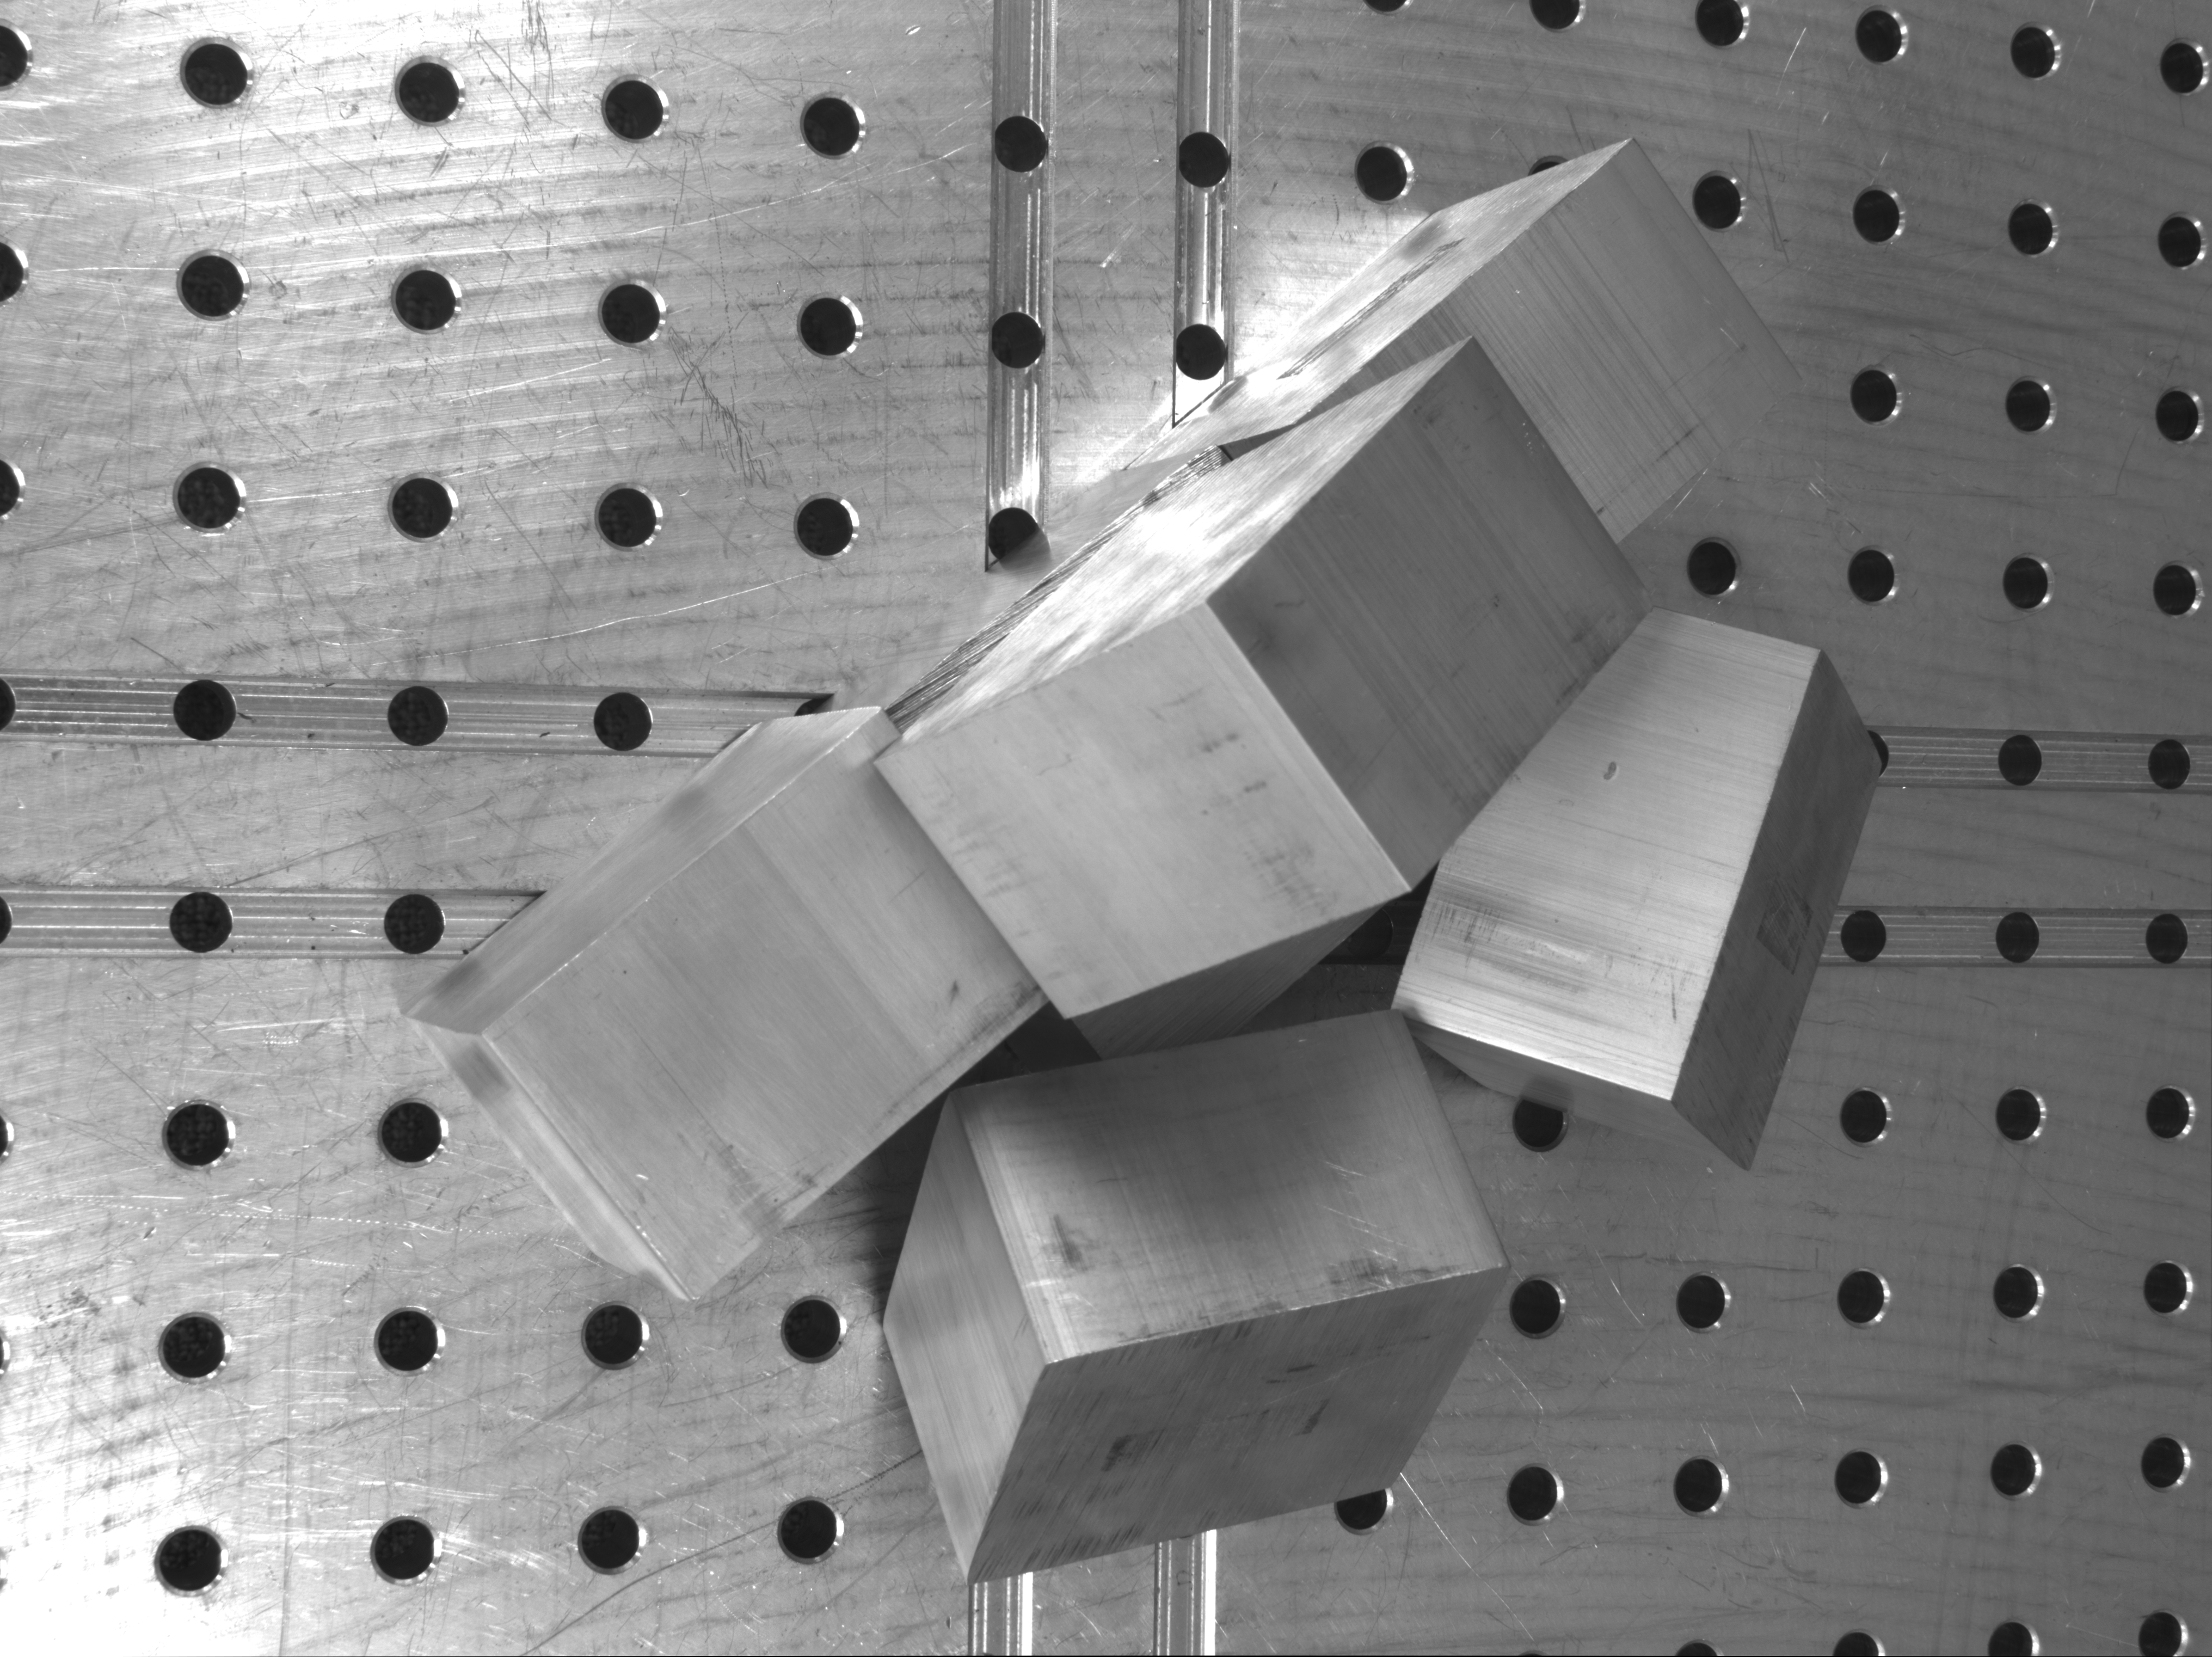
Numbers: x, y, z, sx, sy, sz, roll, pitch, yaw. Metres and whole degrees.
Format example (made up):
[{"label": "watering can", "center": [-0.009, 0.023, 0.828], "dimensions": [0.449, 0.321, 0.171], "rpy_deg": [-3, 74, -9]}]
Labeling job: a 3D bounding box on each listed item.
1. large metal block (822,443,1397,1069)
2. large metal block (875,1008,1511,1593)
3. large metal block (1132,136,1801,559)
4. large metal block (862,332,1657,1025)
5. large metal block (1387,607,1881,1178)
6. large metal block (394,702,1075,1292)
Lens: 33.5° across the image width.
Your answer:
[{"label": "large metal block", "center": [0.003, -0.008, 0.635], "dimensions": [0.080, 0.050, 0.080], "rpy_deg": [-41, 103, -15]}, {"label": "large metal block", "center": [0.012, 0.079, 0.614], "dimensions": [0.080, 0.080, 0.050], "rpy_deg": [-9, 56, -19]}, {"label": "large metal block", "center": [0.059, -0.070, 0.638], "dimensions": [0.080, 0.080, 0.050], "rpy_deg": [-41, 103, -15]}, {"label": "large metal block", "center": [0.024, -0.022, 0.559], "dimensions": [0.050, 0.080, 0.080], "rpy_deg": [54, 49, -12]}, {"label": "large metal block", "center": [0.094, 0.010, 0.643], "dimensions": [0.050, 0.080, 0.080], "rpy_deg": [17, 83, 22]}, {"label": "large metal block", "center": [-0.062, 0.025, 0.593], "dimensions": [0.080, 0.080, 0.050], "rpy_deg": [-40, 103, -16]}]
